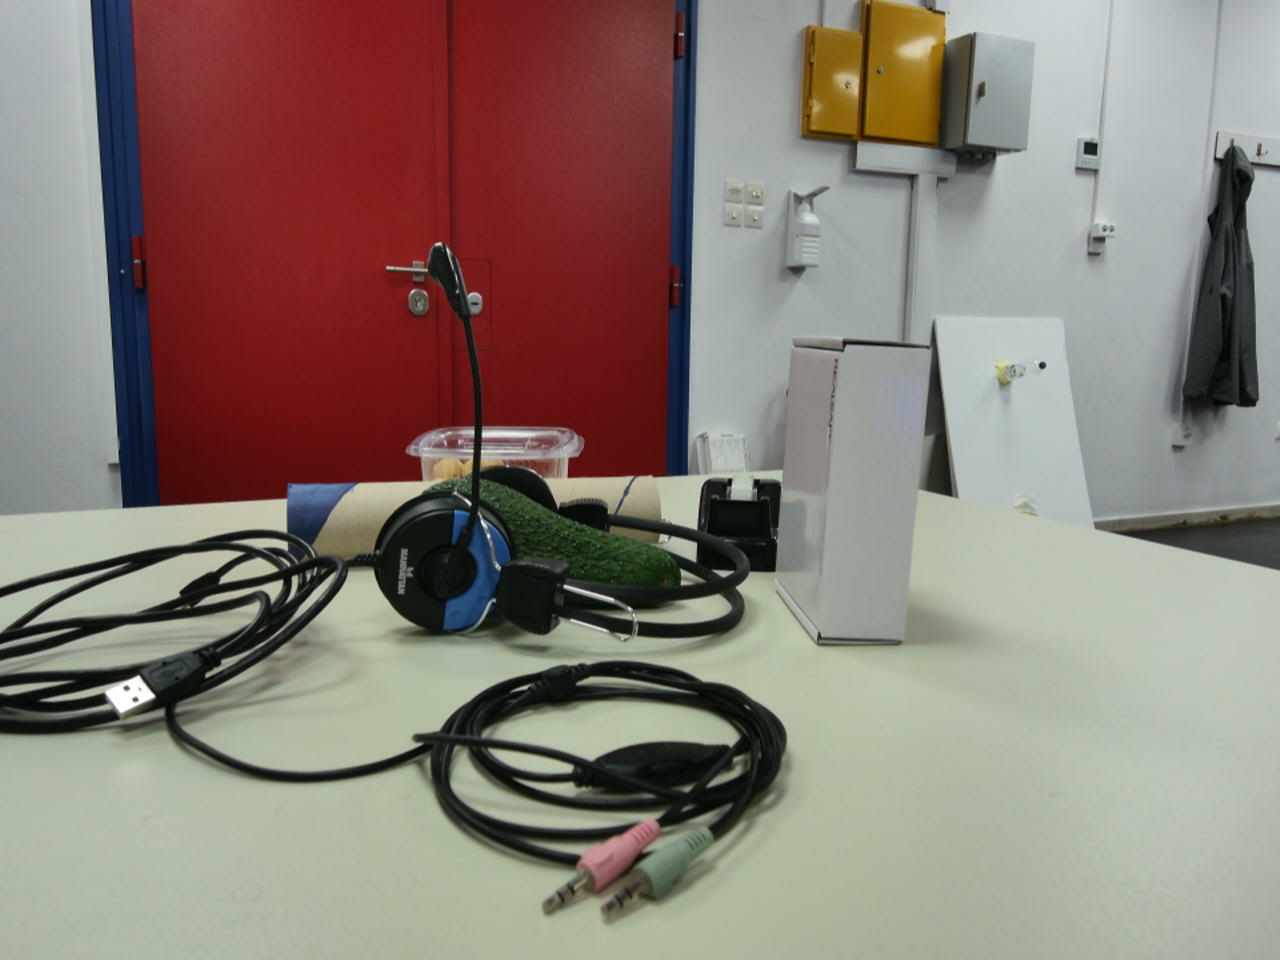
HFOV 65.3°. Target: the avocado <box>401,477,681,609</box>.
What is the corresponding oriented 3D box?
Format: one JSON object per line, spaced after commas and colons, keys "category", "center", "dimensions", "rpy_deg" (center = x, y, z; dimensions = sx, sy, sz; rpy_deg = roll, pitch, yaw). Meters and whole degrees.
{"category": "avocado", "center": [-0.050, 0.031, 0.515], "dimensions": [0.141, 0.067, 0.063], "rpy_deg": [-1, 6, -10]}
